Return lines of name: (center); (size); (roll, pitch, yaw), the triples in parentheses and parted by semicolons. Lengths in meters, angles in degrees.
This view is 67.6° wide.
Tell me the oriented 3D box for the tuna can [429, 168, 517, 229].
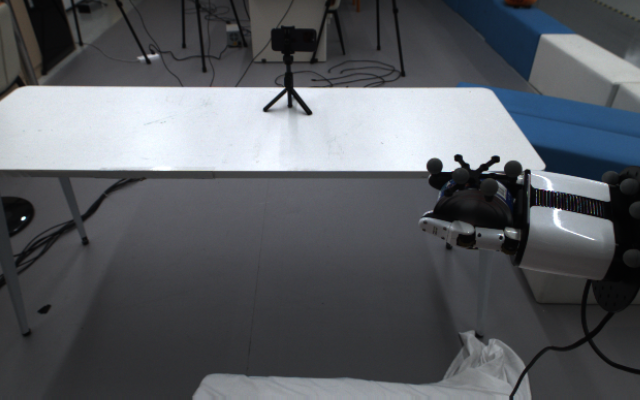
tuna can: (0.175, 0.010, 0.549); (0.085, 0.085, 0.034); (14, 41, 16)
